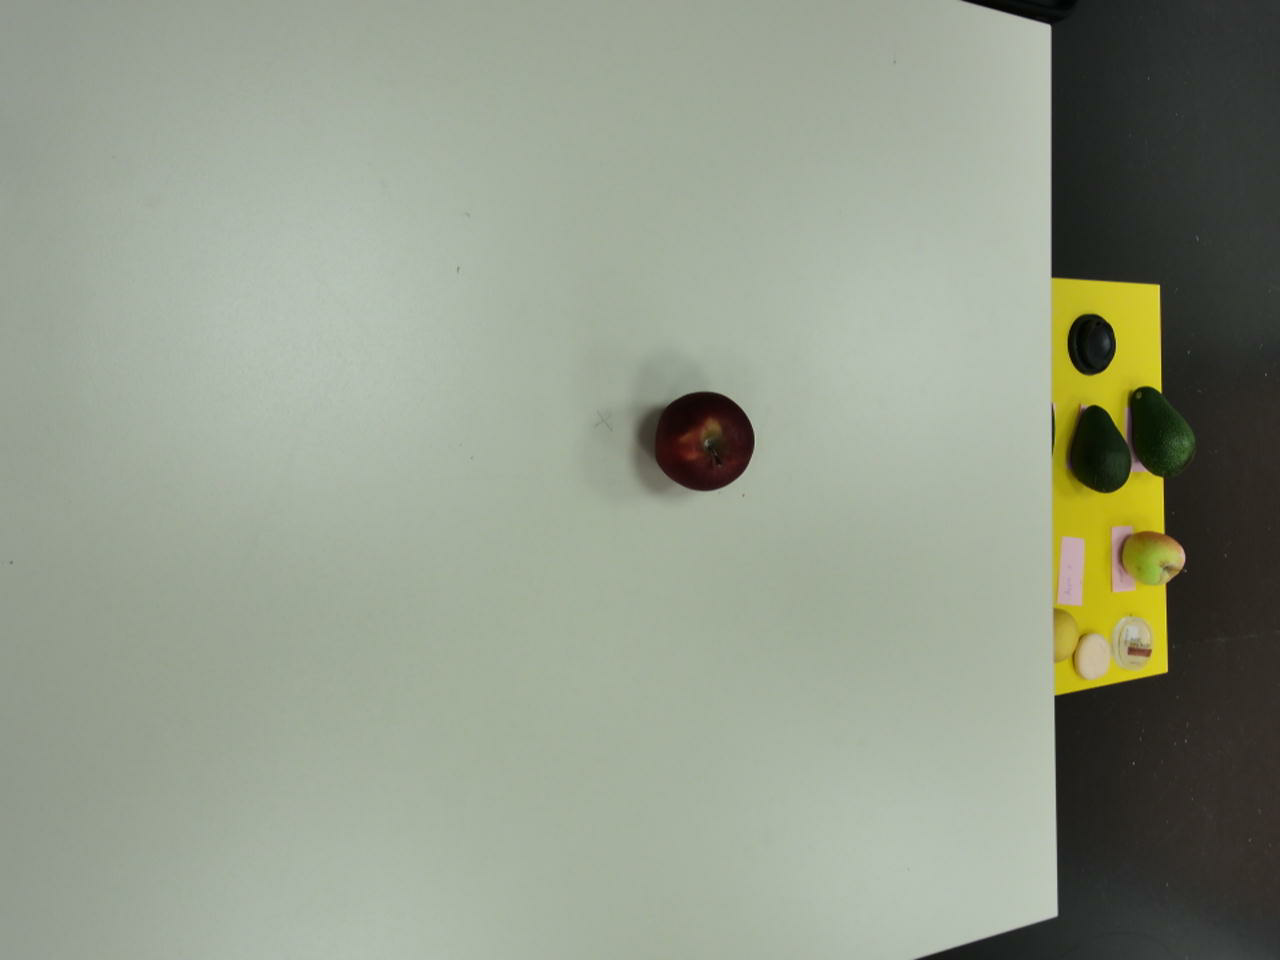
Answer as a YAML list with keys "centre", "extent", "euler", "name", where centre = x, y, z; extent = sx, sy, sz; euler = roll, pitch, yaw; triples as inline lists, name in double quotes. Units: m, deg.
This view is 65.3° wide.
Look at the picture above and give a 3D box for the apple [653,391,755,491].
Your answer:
- centre: [0.044, -0.026, 0.695]
  extent: [0.070, 0.072, 0.070]
  euler: [0, 90, -28]
  name: "apple"
